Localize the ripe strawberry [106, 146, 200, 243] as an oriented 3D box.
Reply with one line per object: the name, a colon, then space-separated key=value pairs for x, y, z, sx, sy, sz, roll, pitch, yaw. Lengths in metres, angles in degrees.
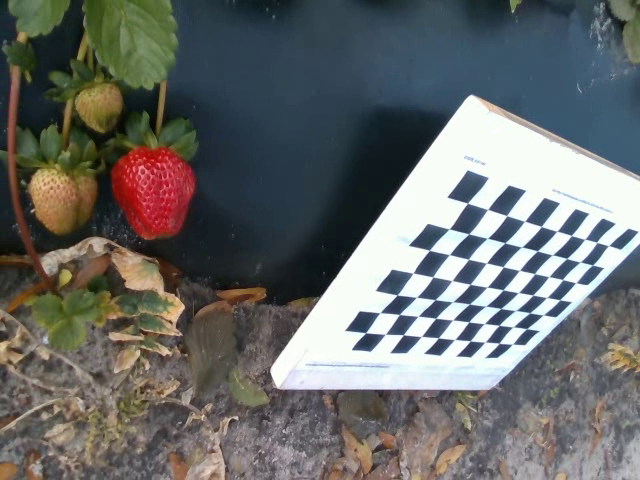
ripe strawberry: x=-0.098 y=-0.024 z=0.348 sx=0.066 sy=0.075 sz=0.053 roll=-6 pitch=44 yaw=-25
